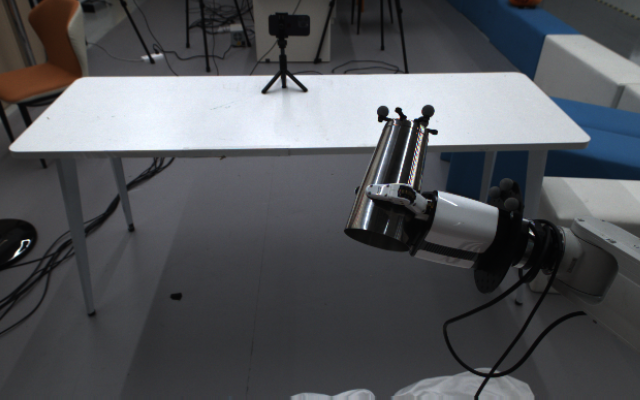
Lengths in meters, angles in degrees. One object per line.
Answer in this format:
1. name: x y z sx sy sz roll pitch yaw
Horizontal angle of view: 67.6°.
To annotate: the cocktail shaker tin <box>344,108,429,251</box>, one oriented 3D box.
1. cocktail shaker tin: 0.100 -0.023 0.675 0.093 0.093 0.170 13 73 15
